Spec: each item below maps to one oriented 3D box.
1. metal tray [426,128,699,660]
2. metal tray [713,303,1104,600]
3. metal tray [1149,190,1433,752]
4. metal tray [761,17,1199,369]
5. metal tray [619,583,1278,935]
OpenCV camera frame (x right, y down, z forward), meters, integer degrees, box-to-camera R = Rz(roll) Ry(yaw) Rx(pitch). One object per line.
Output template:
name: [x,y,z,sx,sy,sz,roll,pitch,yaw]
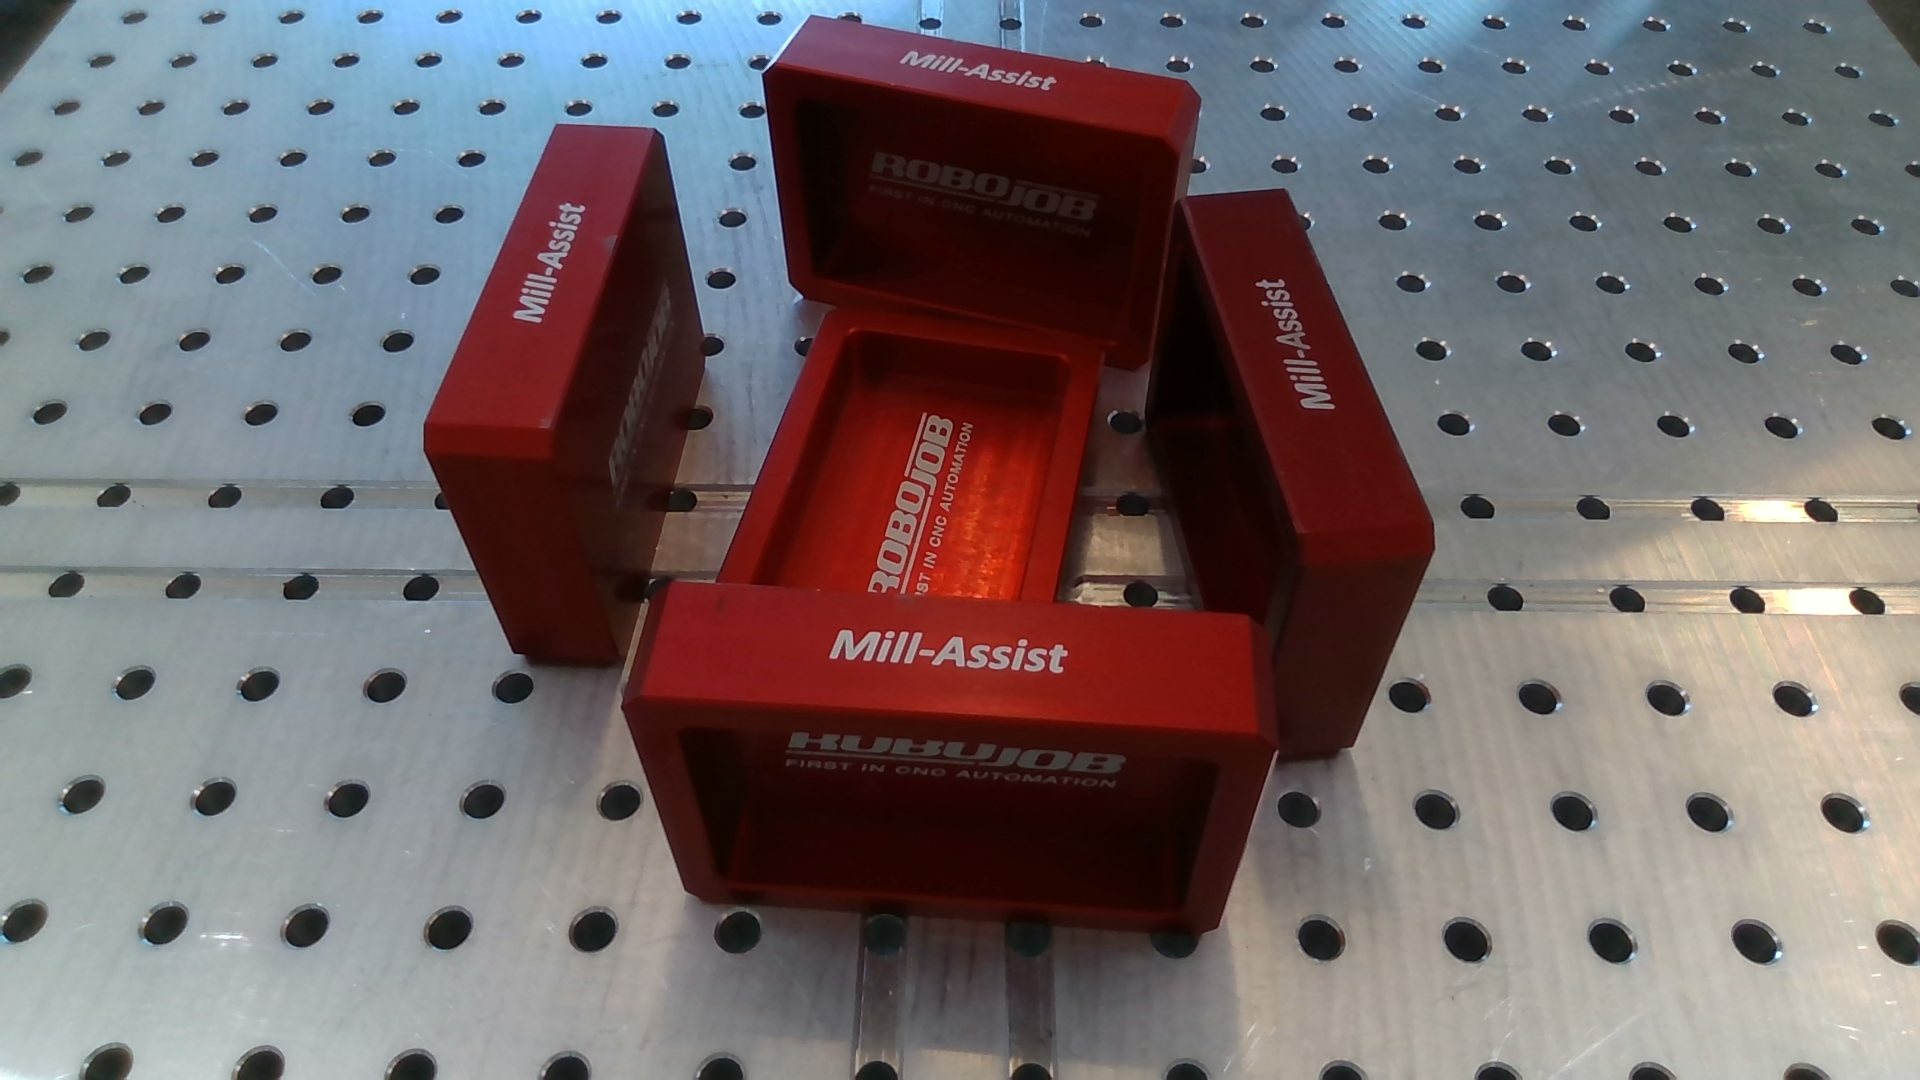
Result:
metal tray: [-0.105,-0.043,0.391,0.030,0.090,0.130,3,50,2]
metal tray: [-0.011,-0.011,0.402,0.090,0.030,0.130,9,51,7]
metal tray: [0.081,-0.020,0.370,0.030,0.090,0.130,-5,50,-4]
metal tray: [0.005,-0.111,0.447,0.130,0.090,0.030,14,51,11]
metal tray: [-0.002,0.052,0.311,0.130,0.090,0.030,3,50,3]
